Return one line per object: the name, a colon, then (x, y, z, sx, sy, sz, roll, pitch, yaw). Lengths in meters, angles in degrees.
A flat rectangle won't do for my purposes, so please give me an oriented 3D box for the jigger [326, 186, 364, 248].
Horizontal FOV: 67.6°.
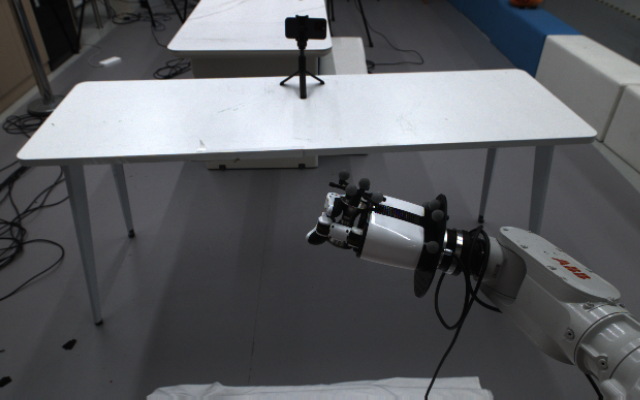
jigger: (0.041, 0.034, 0.728, 0.043, 0.071, 0.043, 18, 17, -6)
